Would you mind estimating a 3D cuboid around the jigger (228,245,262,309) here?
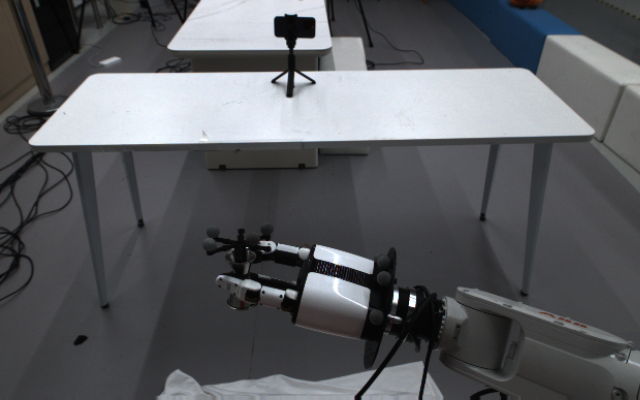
[{"bbox_3d":[-0.102,0.104,0.634,0.043,0.071,0.043,0,21,0],"label":"jigger"}]
